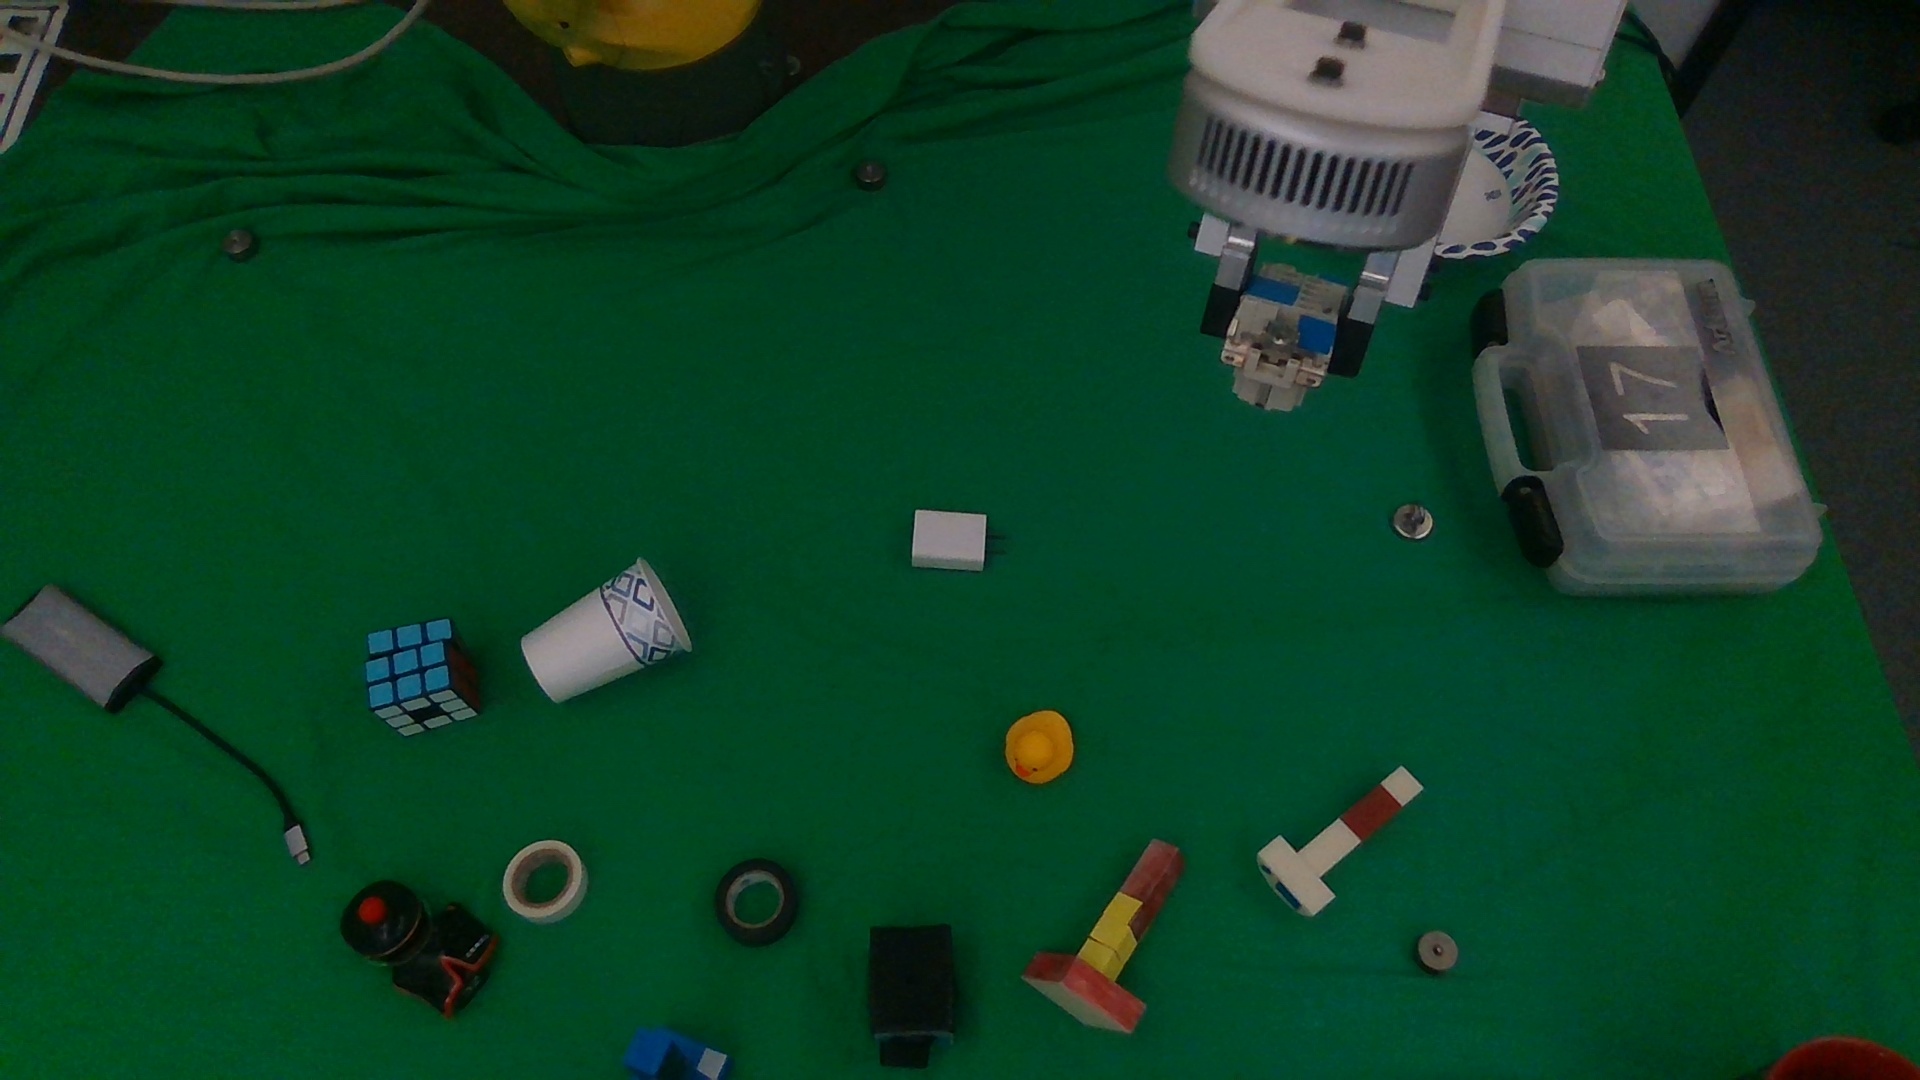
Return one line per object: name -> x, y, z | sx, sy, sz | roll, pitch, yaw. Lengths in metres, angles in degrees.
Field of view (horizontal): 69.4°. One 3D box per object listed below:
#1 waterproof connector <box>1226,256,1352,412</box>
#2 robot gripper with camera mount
waterproof connector -> 0.107, -0.067, 0.456 | 0.035, 0.037, 0.065 | 19, 31, 7
robot gripper with camera mount -> 0.100, -0.093, 0.347 | 0.119, 0.158, 0.193 | 19, 31, 11
